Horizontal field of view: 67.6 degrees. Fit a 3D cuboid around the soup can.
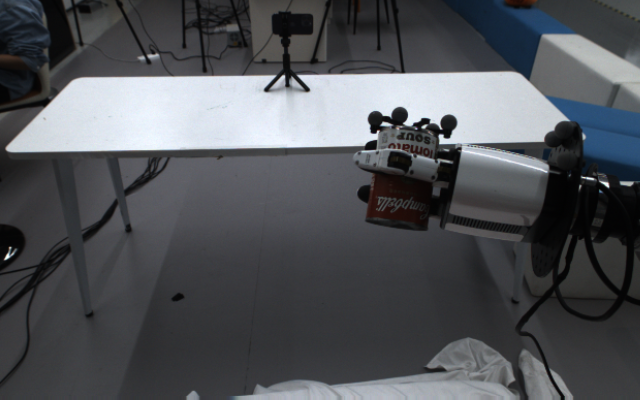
[{"bbox_3d":[0.091,-0.022,0.522,0.067,0.101,0.067,9,-6,1],"label":"soup can"}]
